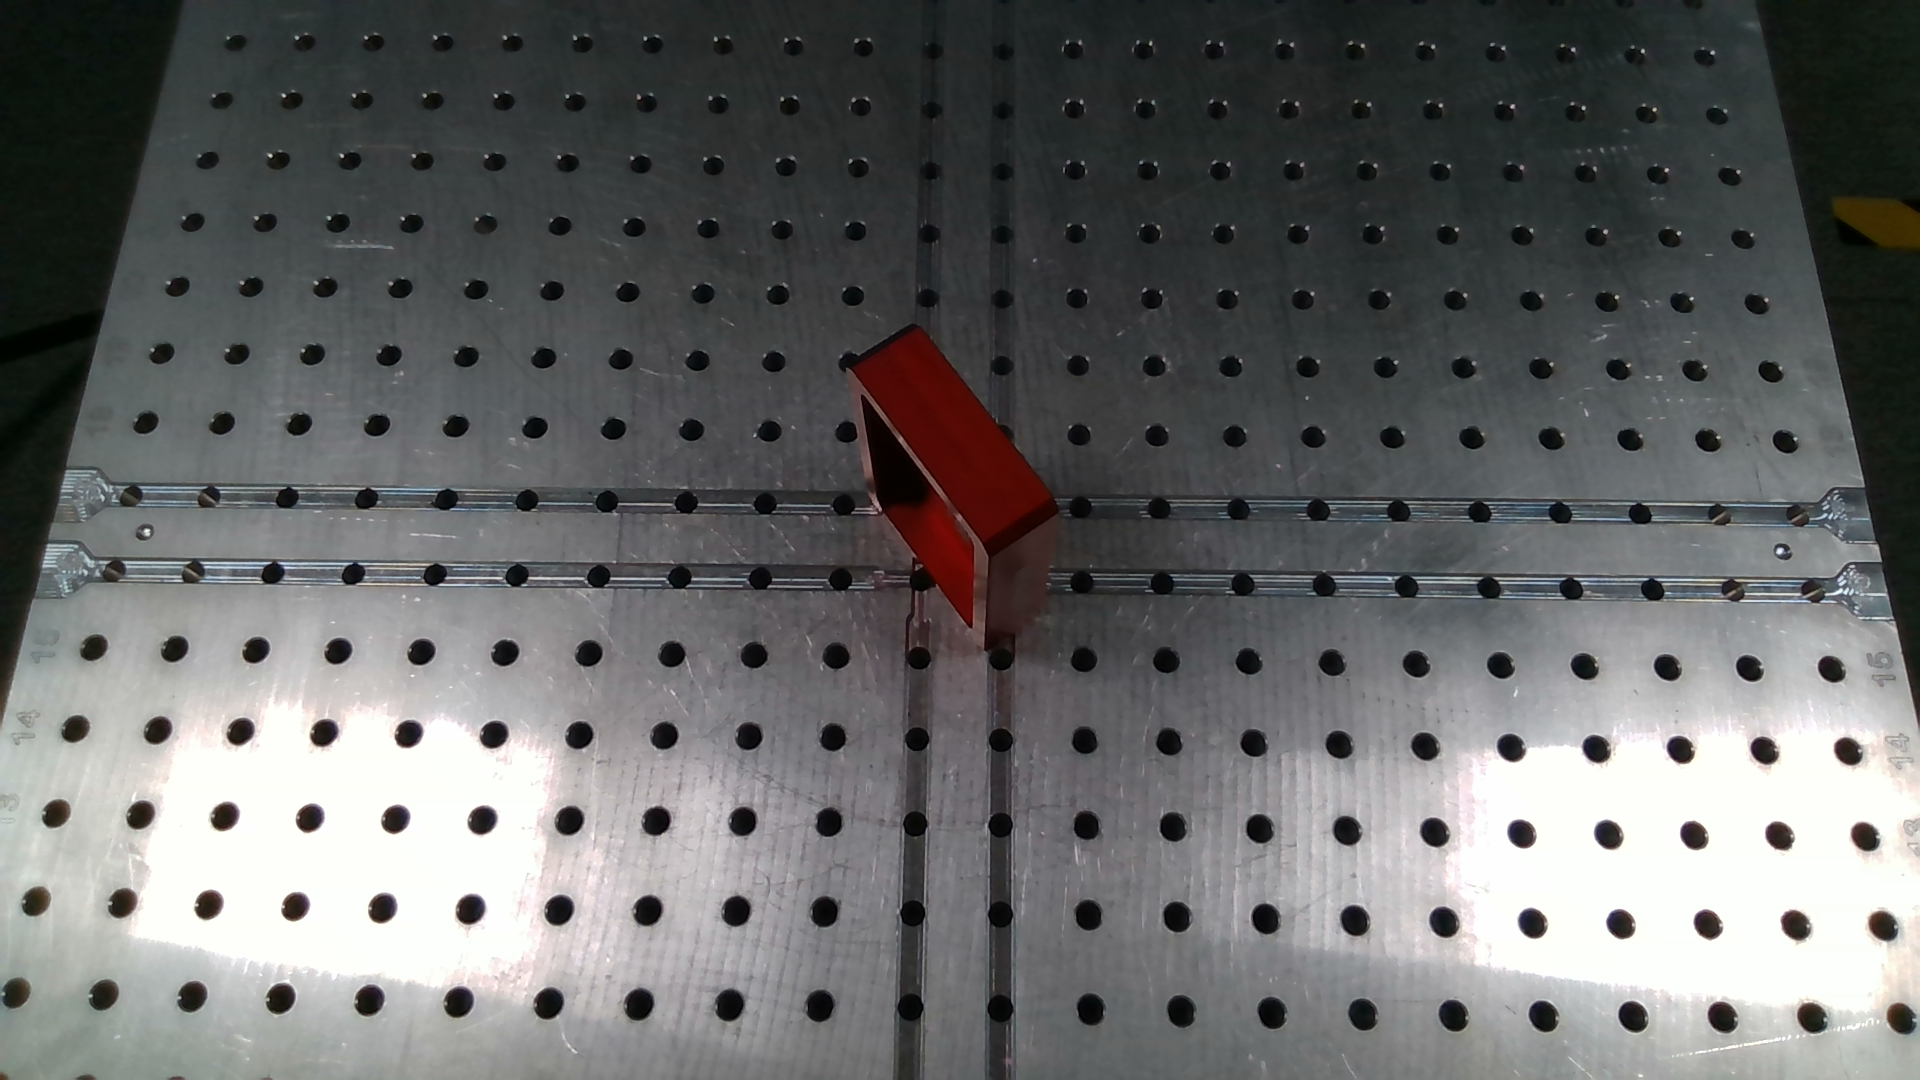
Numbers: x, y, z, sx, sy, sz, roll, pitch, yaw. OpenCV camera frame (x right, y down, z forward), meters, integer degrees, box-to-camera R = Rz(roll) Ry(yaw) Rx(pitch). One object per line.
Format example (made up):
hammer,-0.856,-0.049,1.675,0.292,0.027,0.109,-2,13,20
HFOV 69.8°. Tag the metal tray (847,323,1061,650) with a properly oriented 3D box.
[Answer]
metal tray,-0.003,-0.016,0.540,0.030,0.130,0.090,-33,74,-12
